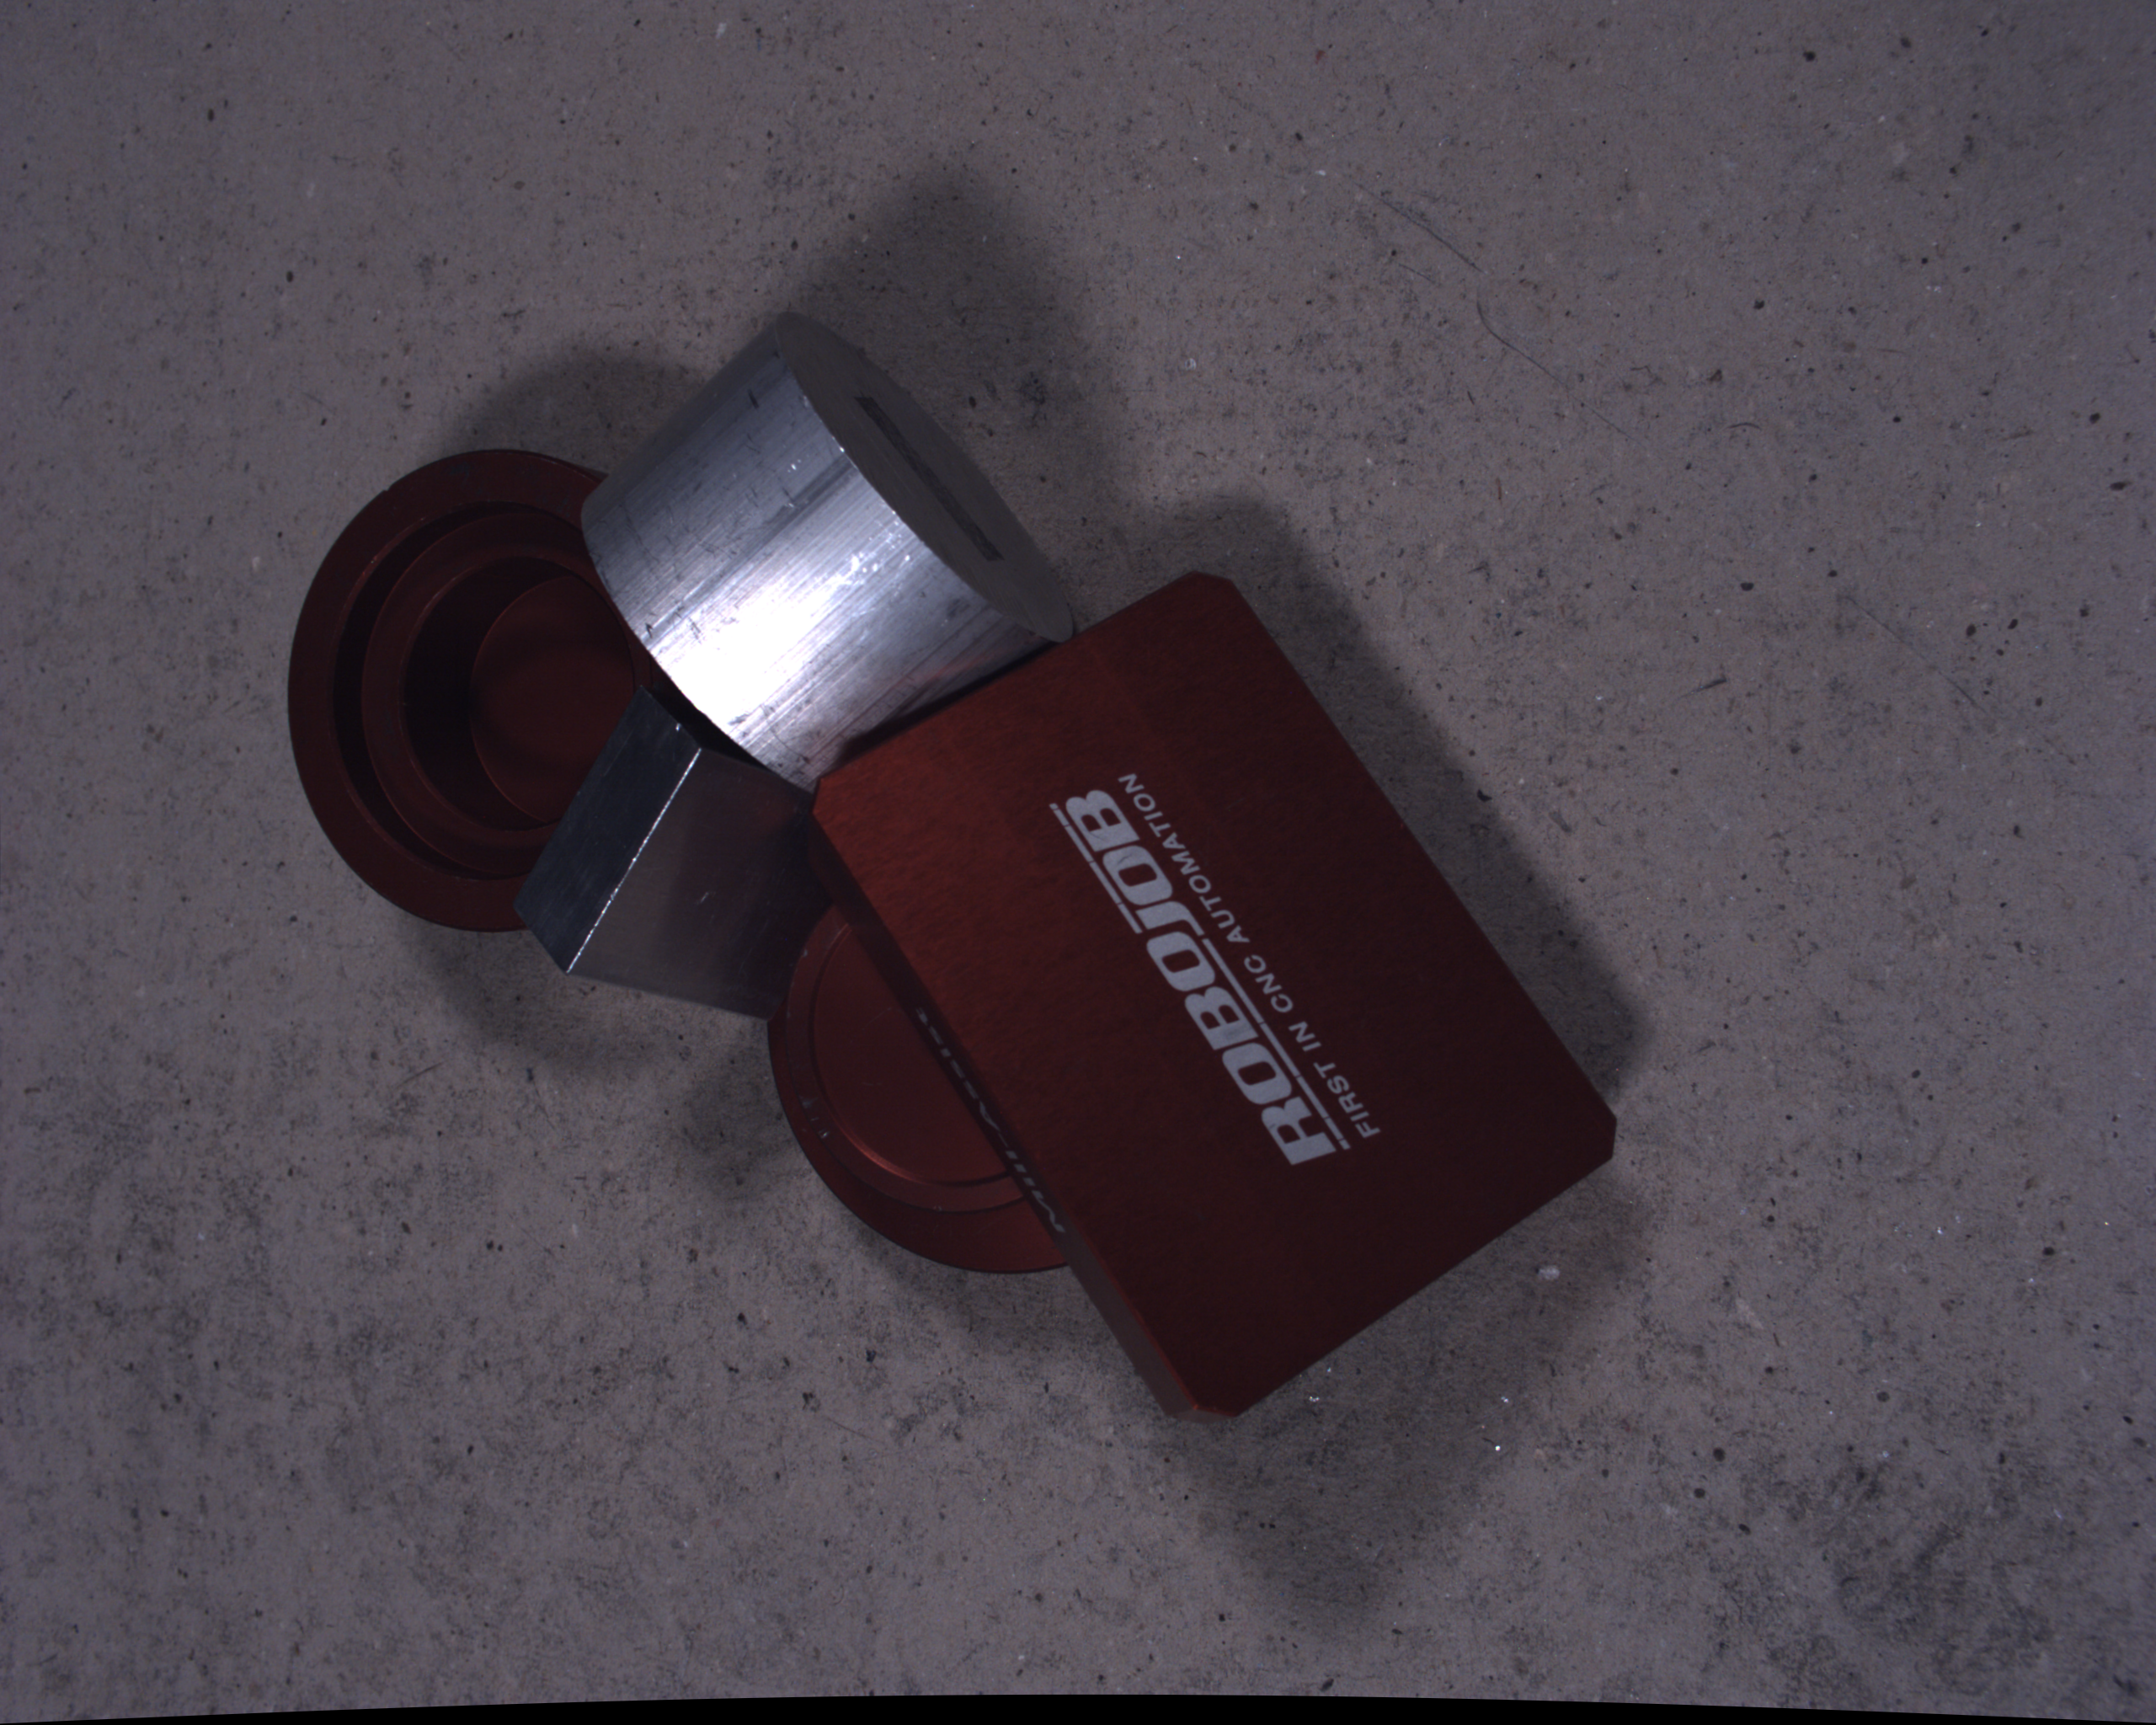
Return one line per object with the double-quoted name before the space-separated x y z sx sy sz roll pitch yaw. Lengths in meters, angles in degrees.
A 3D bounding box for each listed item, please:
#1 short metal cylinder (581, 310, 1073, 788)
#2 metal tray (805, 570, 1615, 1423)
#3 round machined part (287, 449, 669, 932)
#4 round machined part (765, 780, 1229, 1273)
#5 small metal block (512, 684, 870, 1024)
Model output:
"short metal cylinder" -0.046 -0.057 0.397 0.050 0.080 0.080 -39 78 16
"metal tray" 0.022 0.022 0.376 0.091 0.030 0.130 -31 79 -15
"round machined part" -0.113 -0.035 0.439 0.098 0.042 0.097 0 90 19
"round machined part" -0.018 0.032 0.406 0.098 0.042 0.097 0 90 19
"small metal block" -0.071 0.000 0.402 0.025 0.050 0.050 41 104 40
